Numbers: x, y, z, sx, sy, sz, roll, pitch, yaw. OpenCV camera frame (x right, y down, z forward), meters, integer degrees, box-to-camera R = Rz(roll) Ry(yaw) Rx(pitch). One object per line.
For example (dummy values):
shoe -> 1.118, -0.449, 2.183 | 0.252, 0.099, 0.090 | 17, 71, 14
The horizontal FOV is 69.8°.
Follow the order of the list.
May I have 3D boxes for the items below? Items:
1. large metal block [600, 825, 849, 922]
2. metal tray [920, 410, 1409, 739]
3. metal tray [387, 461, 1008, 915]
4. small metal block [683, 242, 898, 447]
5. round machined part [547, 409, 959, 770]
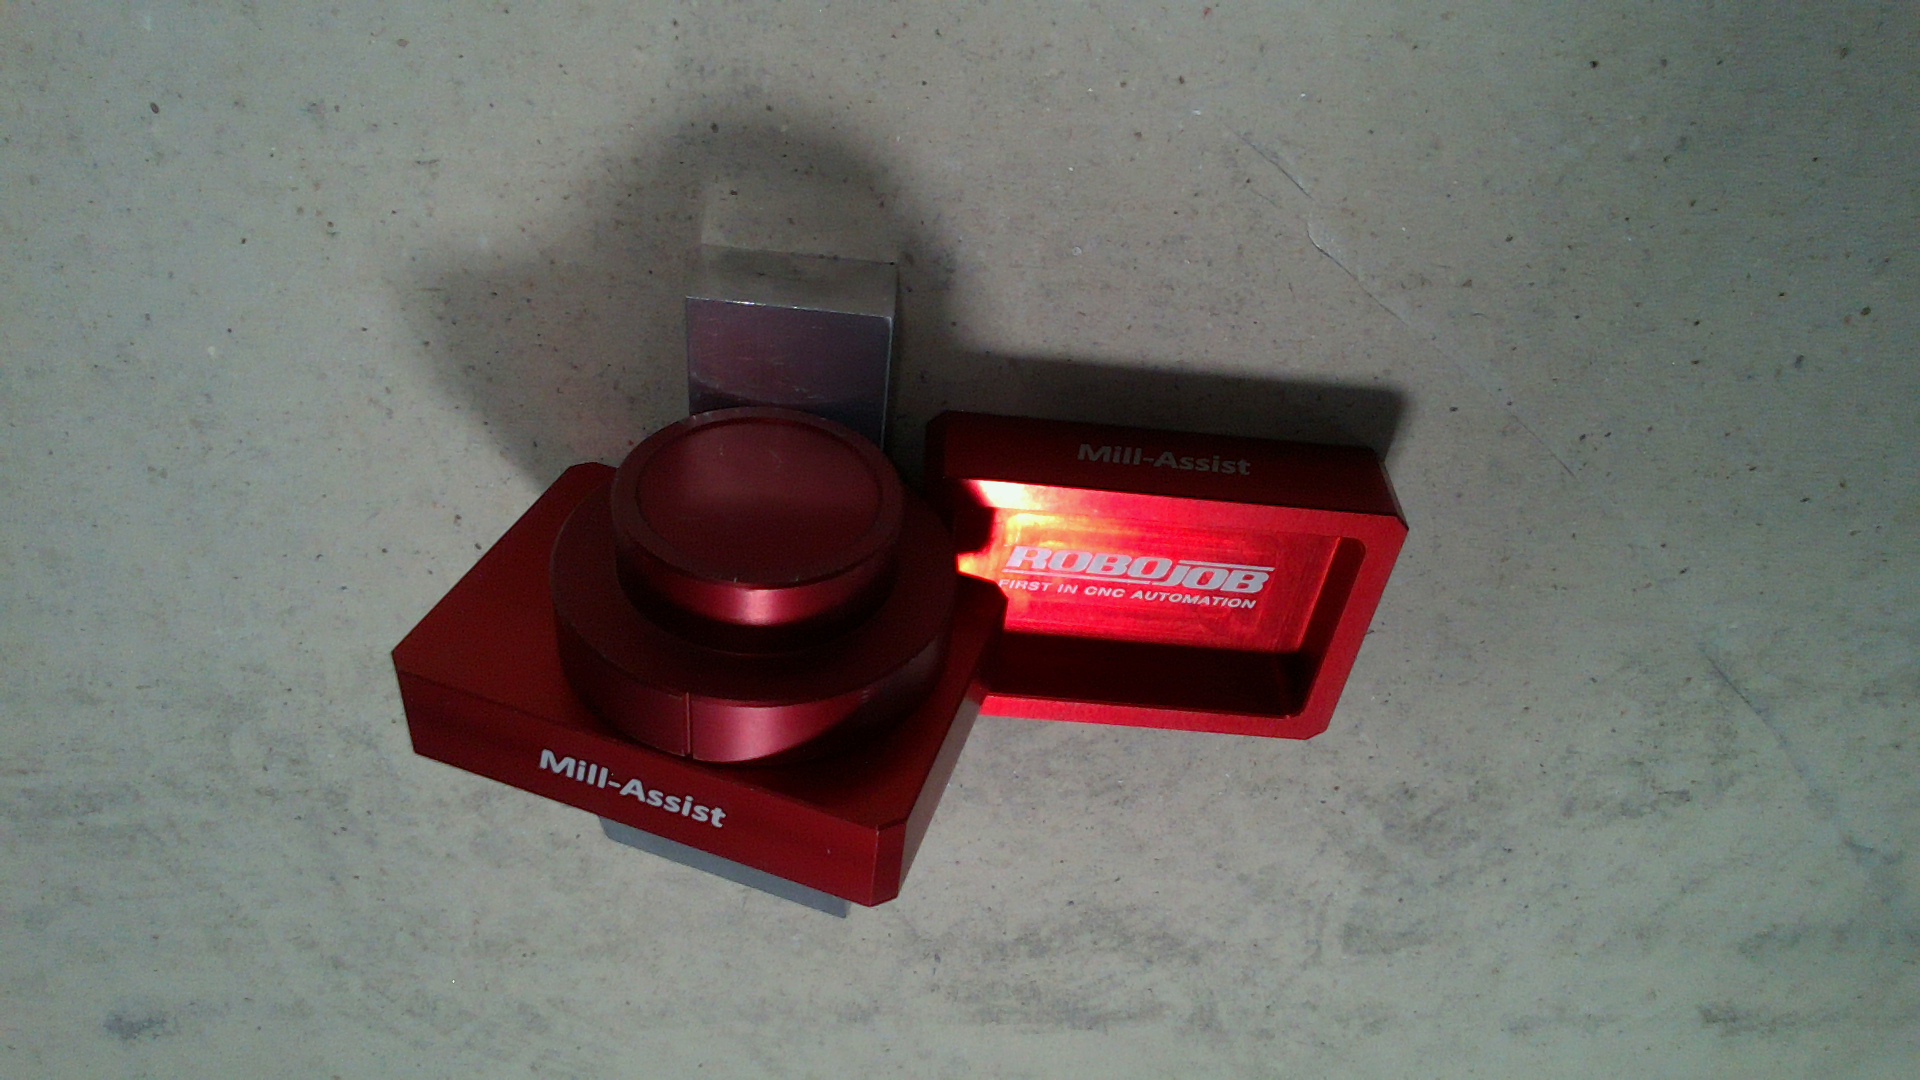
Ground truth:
large metal block -> -0.063, 0.061, 0.401 | 0.080, 0.050, 0.080 | 16, 144, 10
metal tray -> 0.051, 0.013, 0.398 | 0.130, 0.030, 0.090 | 5, 130, -4
metal tray -> -0.063, 0.032, 0.353 | 0.130, 0.090, 0.030 | 17, 131, 10
small metal block -> -0.043, -0.046, 0.353 | 0.050, 0.025, 0.050 | 5, 130, -4
round machined part -> -0.049, 0.005, 0.332 | 0.098, 0.098, 0.042 | 5, 130, -4
